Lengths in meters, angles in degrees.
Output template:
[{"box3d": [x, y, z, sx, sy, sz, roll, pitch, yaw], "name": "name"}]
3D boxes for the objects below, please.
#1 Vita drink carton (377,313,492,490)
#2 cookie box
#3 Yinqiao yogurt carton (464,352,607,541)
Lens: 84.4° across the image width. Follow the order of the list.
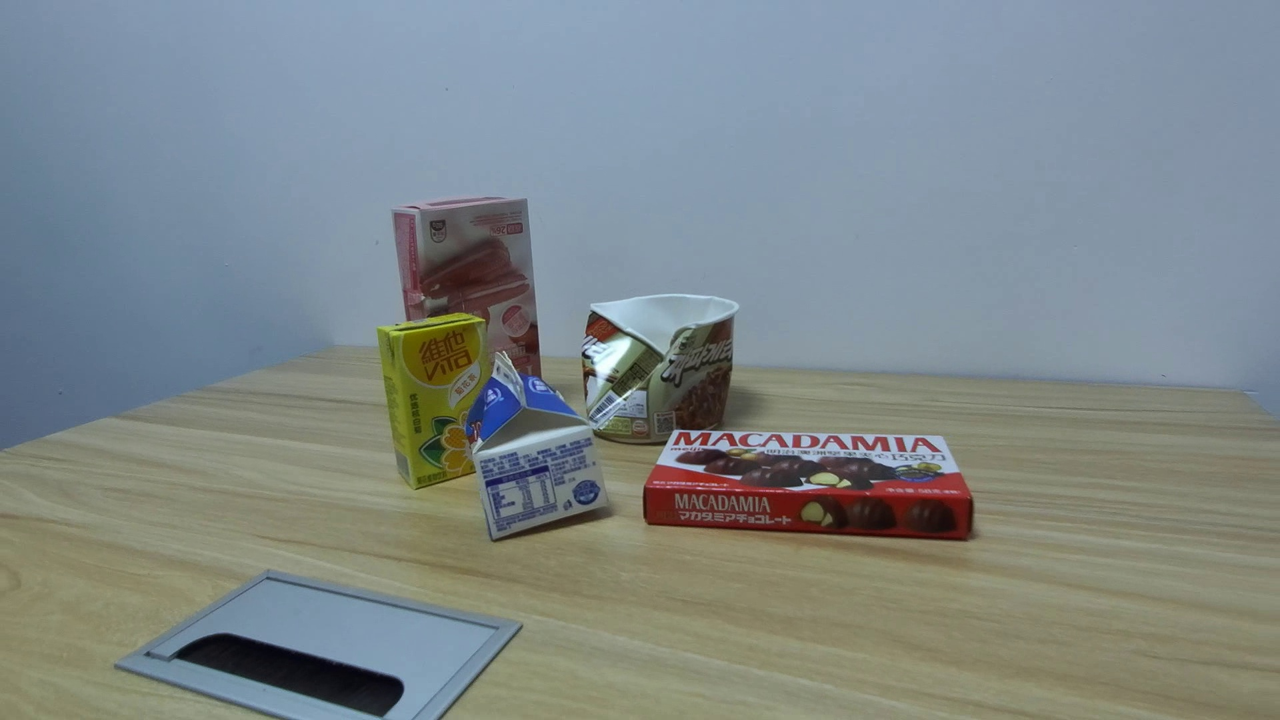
[{"box3d": [-0.141, 0.026, 0.498, 0.067, 0.109, 0.043, -14, 19, -33], "name": "Vita drink carton"}, {"box3d": [-0.139, -0.036, 0.576, 0.105, 0.187, 0.048, -18, 22, -42], "name": "cookie box"}, {"box3d": [-0.069, 0.046, 0.432, 0.071, 0.094, 0.077, -13, 16, -15], "name": "Yinqiao yogurt carton"}]
